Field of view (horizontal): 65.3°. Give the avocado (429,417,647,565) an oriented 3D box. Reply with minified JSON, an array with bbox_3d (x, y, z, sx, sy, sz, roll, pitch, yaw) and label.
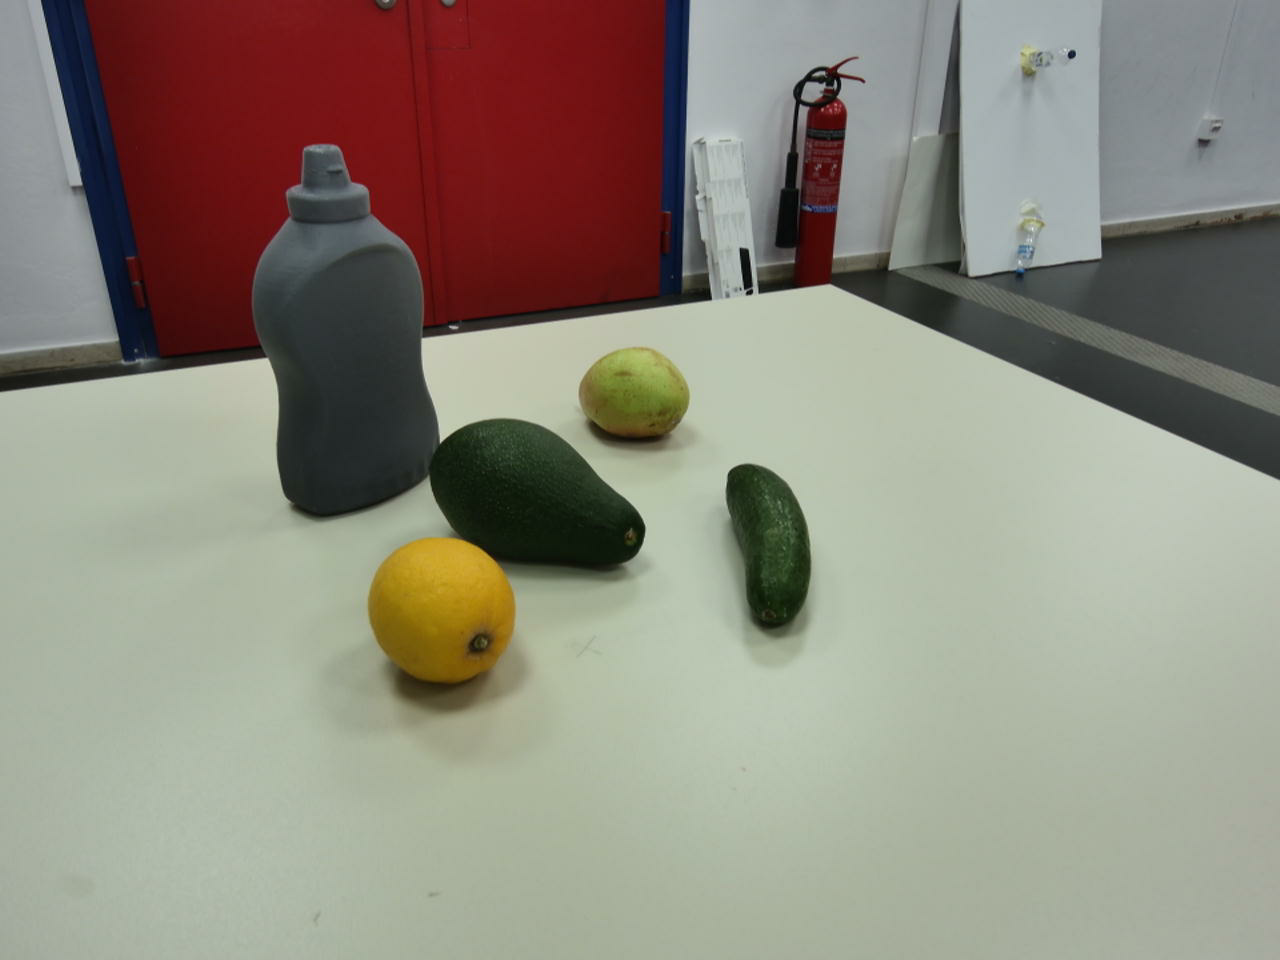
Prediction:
[{"bbox_3d":[-0.056,0.007,0.511,0.110,0.071,0.072,21,33,37],"label":"avocado"}]
